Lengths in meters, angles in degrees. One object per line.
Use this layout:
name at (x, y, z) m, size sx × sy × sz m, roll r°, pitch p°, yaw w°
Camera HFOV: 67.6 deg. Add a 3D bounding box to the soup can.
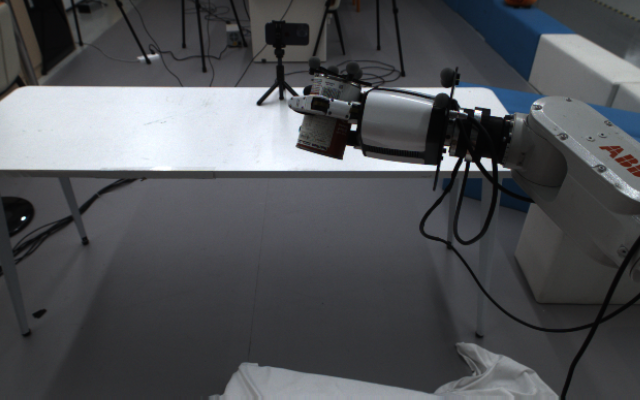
soup can at (0.012, -0.112, 0.659) m, size 0.067 × 0.101 × 0.067 m, roll 15°, pitch 7°, yaw -2°
